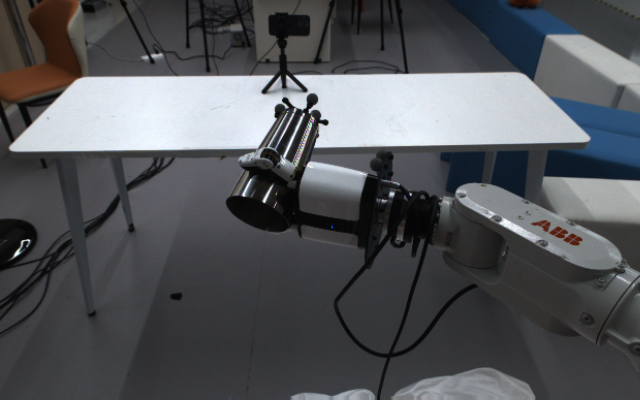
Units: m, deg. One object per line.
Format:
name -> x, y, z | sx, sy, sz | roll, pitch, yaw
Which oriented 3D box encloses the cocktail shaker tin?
cocktail shaker tin -> -0.061, -0.050, 0.697 | 0.093, 0.093, 0.170 | 13, 60, 16
